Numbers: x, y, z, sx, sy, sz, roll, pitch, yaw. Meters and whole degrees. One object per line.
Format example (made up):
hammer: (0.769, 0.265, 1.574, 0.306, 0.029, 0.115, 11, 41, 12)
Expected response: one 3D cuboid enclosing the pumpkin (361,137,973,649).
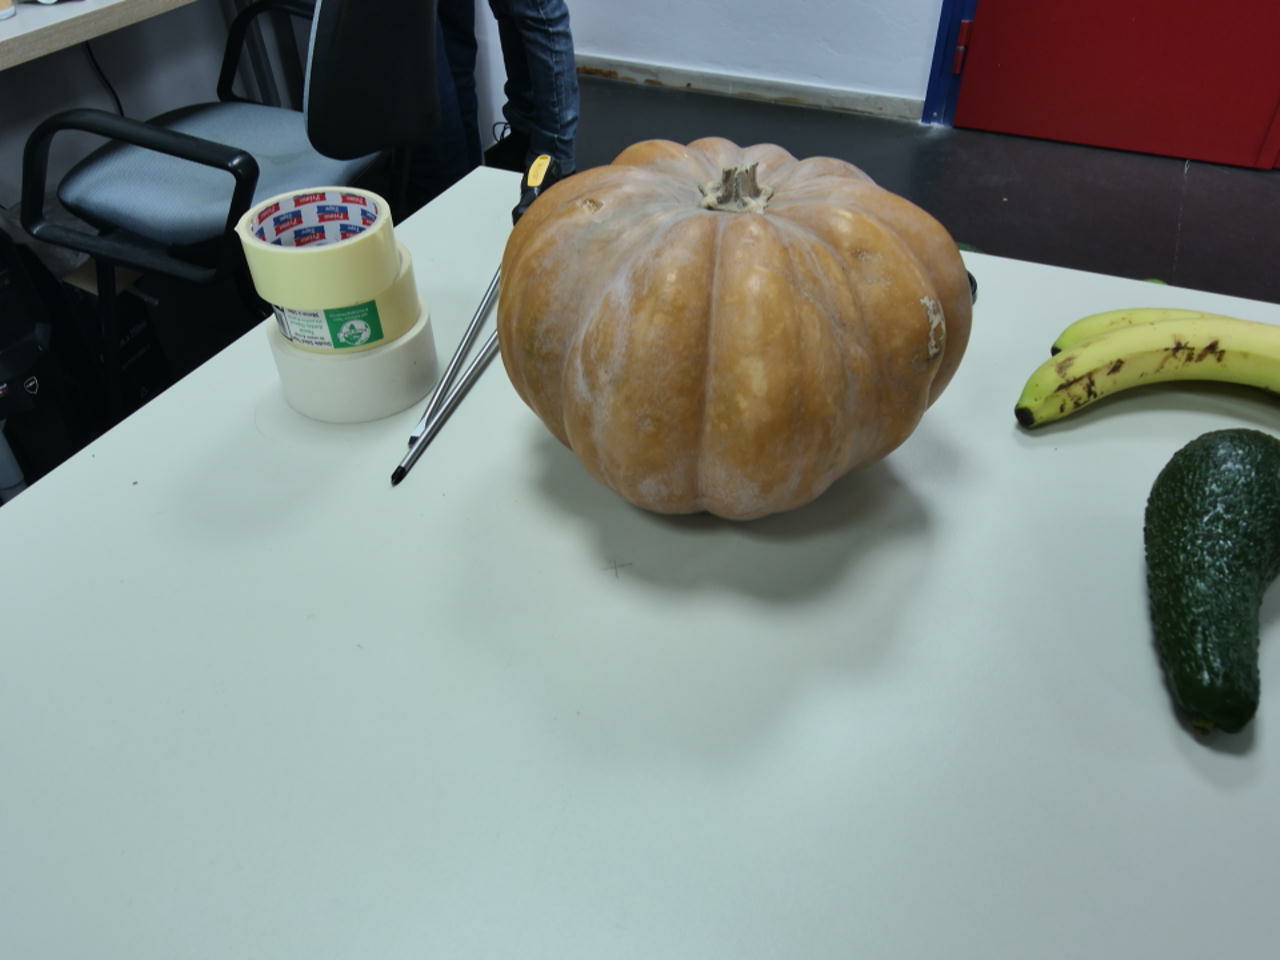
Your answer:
pumpkin: (0.048, -0.095, 0.583, 0.277, 0.181, 0.277, 0, 39, 0)
